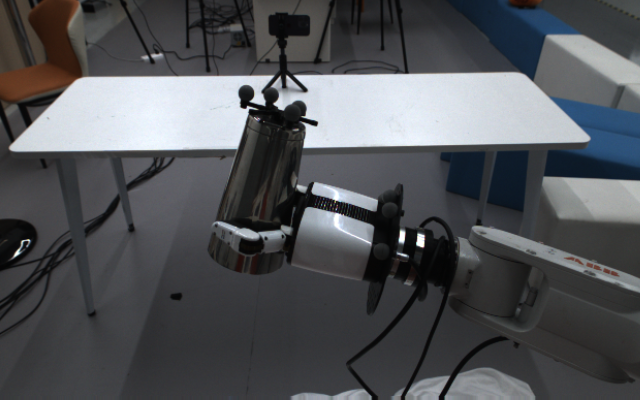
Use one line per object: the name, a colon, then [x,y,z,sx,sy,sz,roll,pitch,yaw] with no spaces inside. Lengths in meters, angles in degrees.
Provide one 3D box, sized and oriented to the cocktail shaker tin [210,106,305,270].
cocktail shaker tin: [-0.067,-0.011,0.560,0.093,0.170,0.093,14,20,-5]
